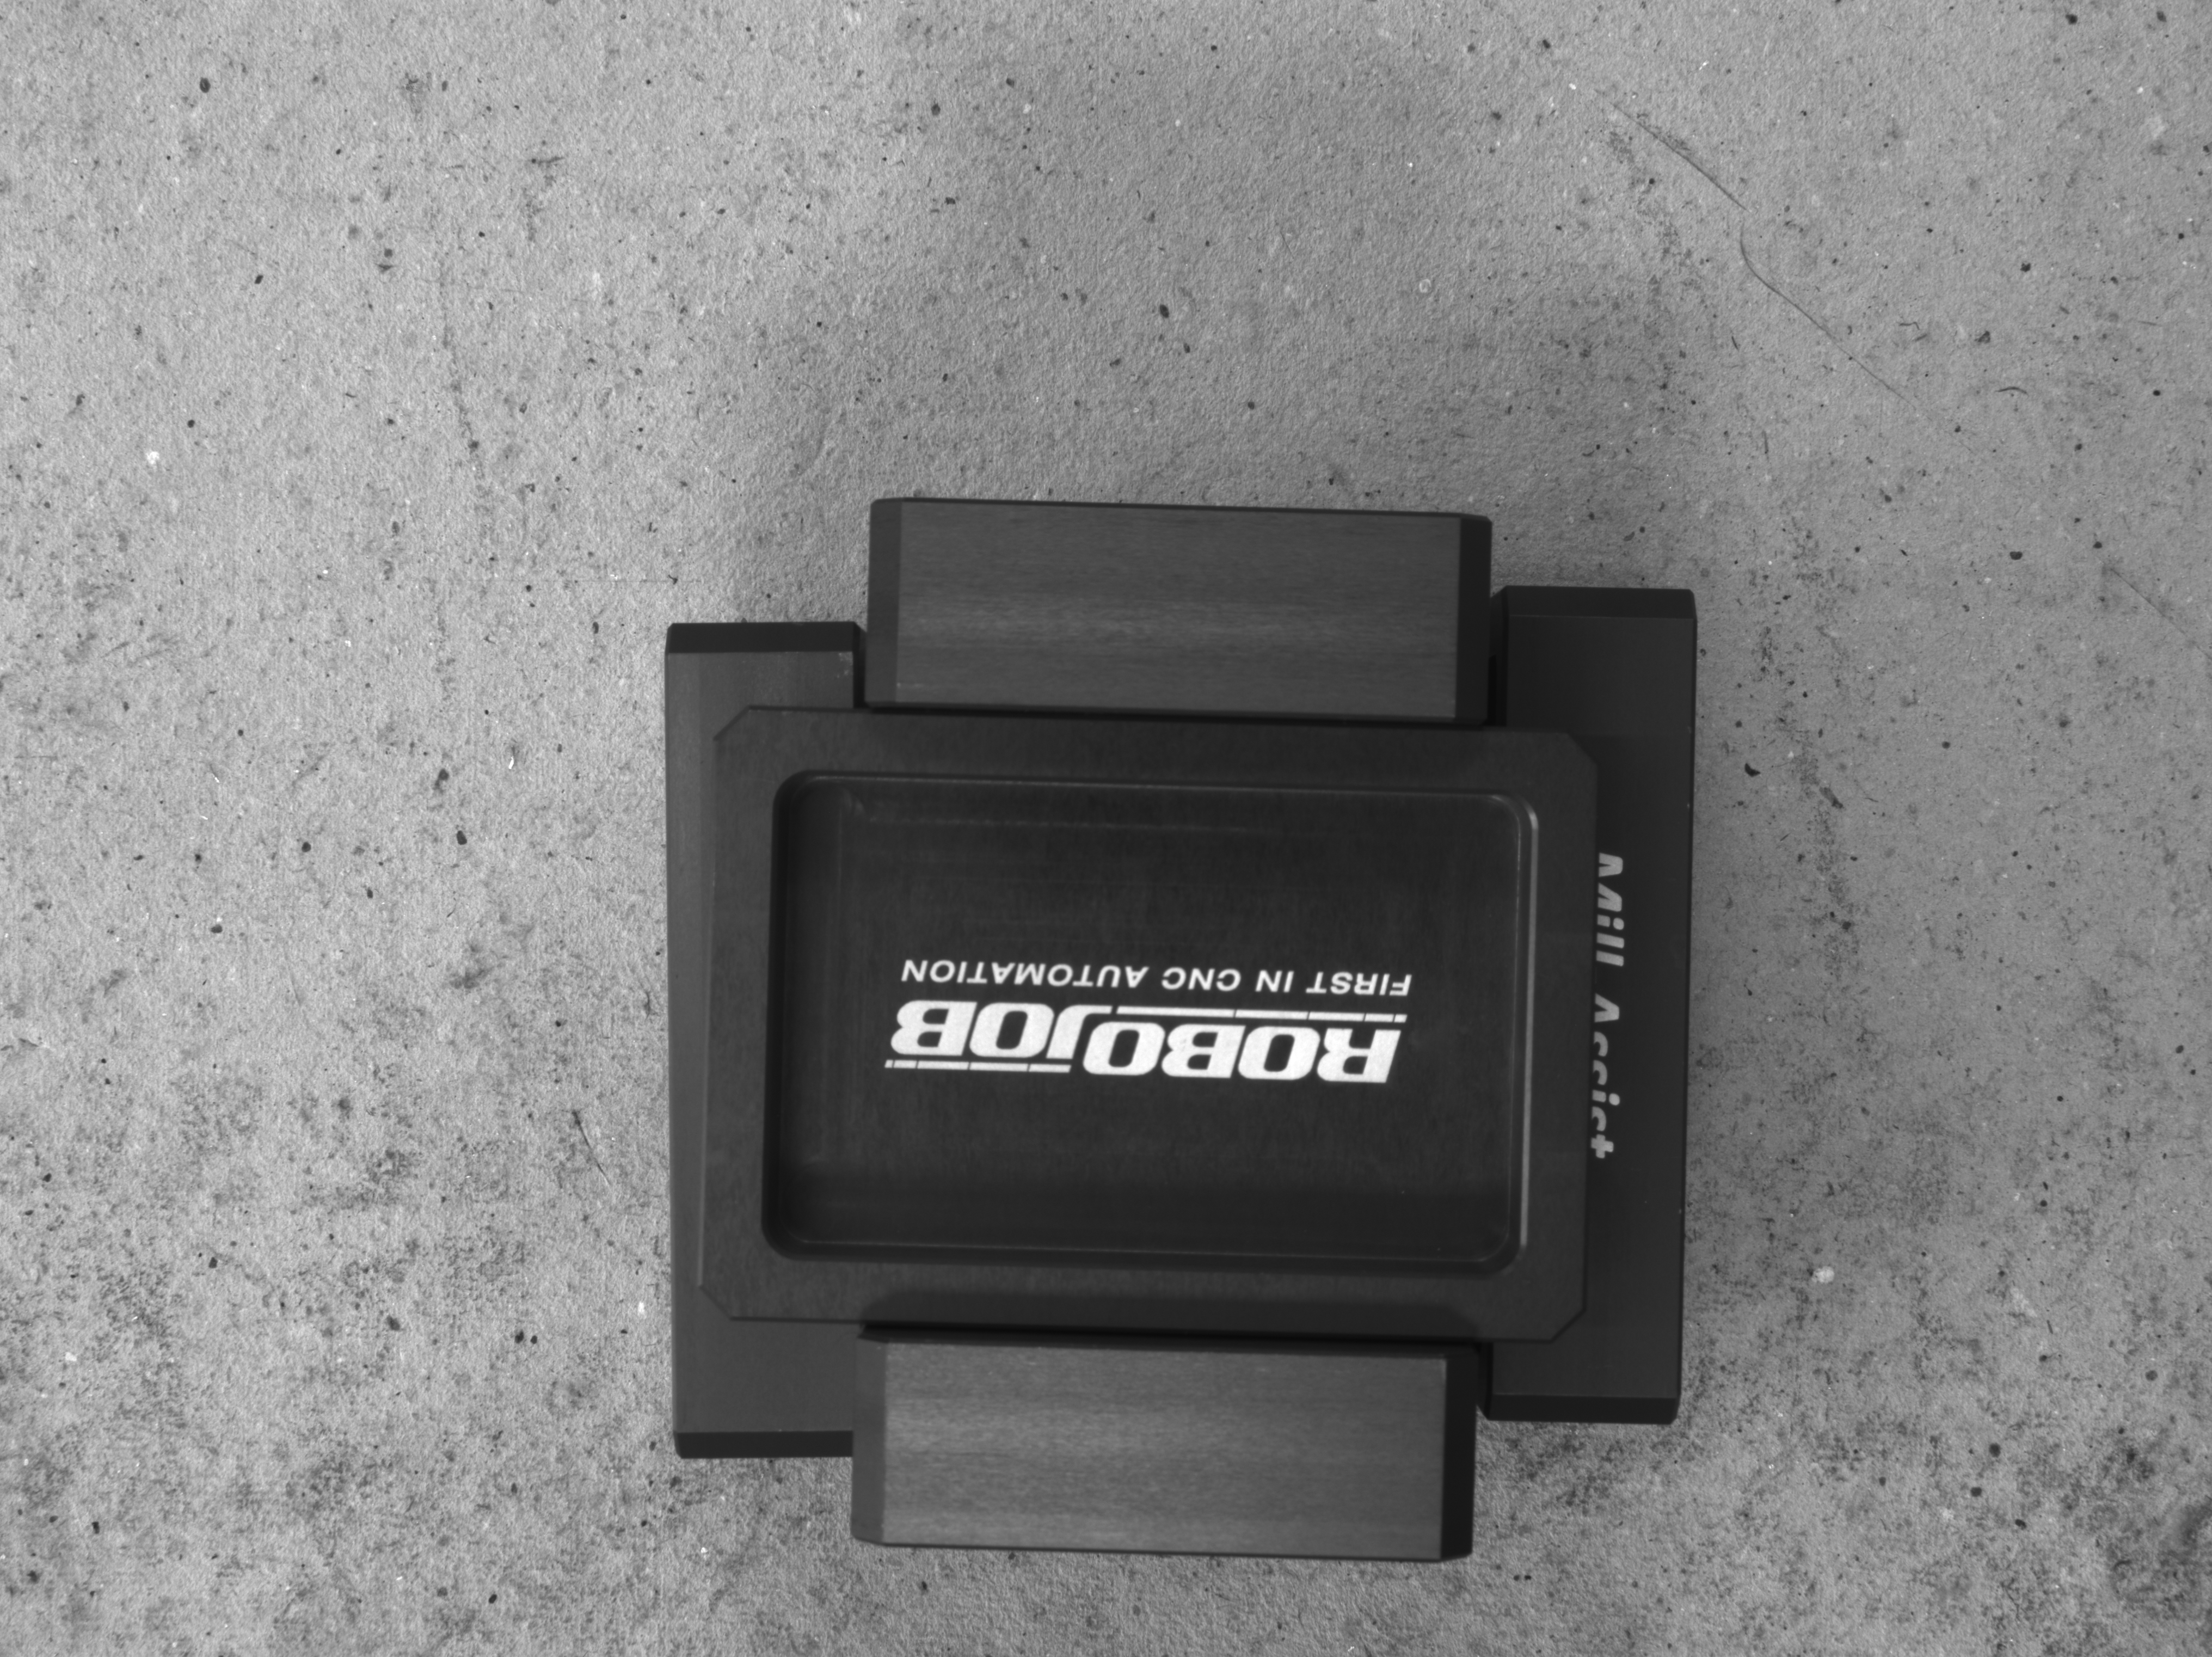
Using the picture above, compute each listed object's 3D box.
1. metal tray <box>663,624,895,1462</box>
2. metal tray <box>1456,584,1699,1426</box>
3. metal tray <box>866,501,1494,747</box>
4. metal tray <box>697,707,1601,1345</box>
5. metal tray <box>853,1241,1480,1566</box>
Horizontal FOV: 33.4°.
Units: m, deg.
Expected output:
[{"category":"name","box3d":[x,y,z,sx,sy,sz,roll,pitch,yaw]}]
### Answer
[{"category":"metal tray","box3d":[-0.053,0.034,0.613,0.030,0.090,0.130,-1,90,0]},{"category":"metal tray","box3d":[0.076,0.028,0.613,0.030,0.090,0.130,1,89,1]},{"category":"metal tray","box3d":[0.011,-0.030,0.593,0.090,0.130,0.030,2,90,0]},{"category":"metal tray","box3d":[0.006,0.029,0.553,0.130,0.030,0.090,2,90,0]},{"category":"metal tray","box3d":[0.009,0.089,0.593,0.090,0.130,0.030,1,90,0]}]
